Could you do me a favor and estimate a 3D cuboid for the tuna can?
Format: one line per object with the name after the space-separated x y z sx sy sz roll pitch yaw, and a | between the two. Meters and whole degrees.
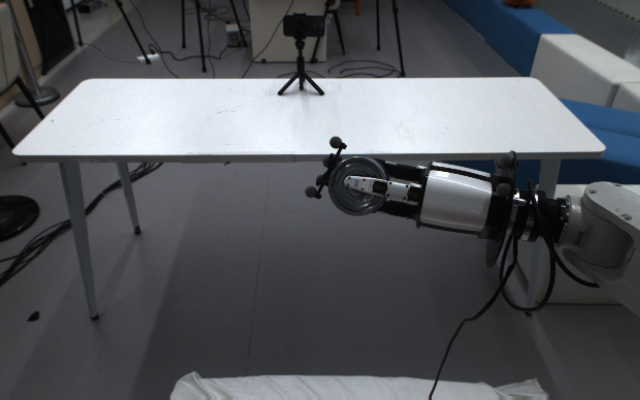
0.057 -0.022 0.688 0.085 0.085 0.034 9 4 10 | tuna can
